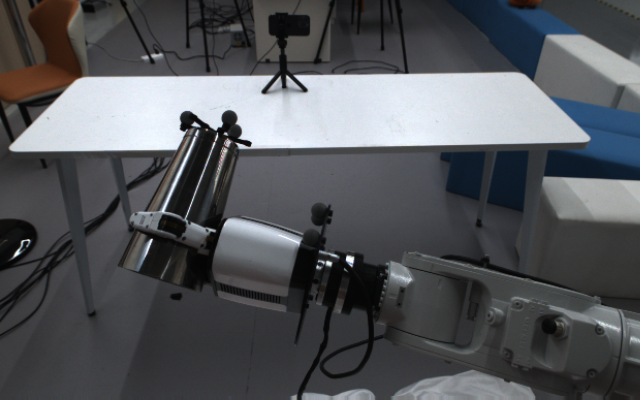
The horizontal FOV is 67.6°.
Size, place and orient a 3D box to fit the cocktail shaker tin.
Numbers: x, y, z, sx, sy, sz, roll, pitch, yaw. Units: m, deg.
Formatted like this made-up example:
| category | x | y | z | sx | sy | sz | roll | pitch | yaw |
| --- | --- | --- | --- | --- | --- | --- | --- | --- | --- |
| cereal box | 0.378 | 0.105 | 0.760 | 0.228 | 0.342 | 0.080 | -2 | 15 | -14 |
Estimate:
| category | x | y | z | sx | sy | sz | roll | pitch | yaw |
| --- | --- | --- | --- | --- | --- | --- | --- | --- | --- |
| cocktail shaker tin | -0.149 | 0.009 | 0.546 | 0.093 | 0.093 | 0.170 | 13 | 74 | 15 |
